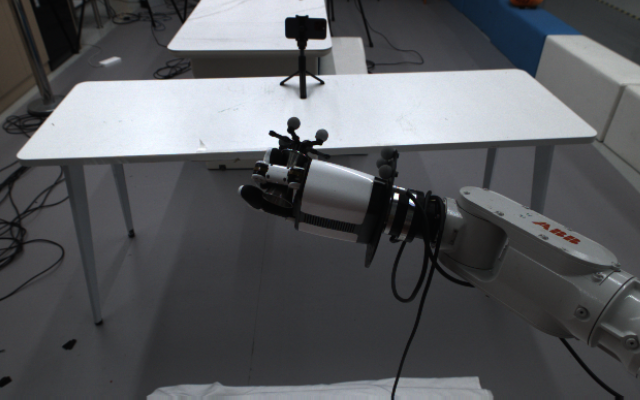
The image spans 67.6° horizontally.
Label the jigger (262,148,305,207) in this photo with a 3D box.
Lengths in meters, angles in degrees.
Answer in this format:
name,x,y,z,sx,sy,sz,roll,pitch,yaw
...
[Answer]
name,x,y,z,sx,sy,sz,roll,pitch,yaw
jigger,-0.043,-0.031,0.639,0.043,0.043,0.071,15,70,18
